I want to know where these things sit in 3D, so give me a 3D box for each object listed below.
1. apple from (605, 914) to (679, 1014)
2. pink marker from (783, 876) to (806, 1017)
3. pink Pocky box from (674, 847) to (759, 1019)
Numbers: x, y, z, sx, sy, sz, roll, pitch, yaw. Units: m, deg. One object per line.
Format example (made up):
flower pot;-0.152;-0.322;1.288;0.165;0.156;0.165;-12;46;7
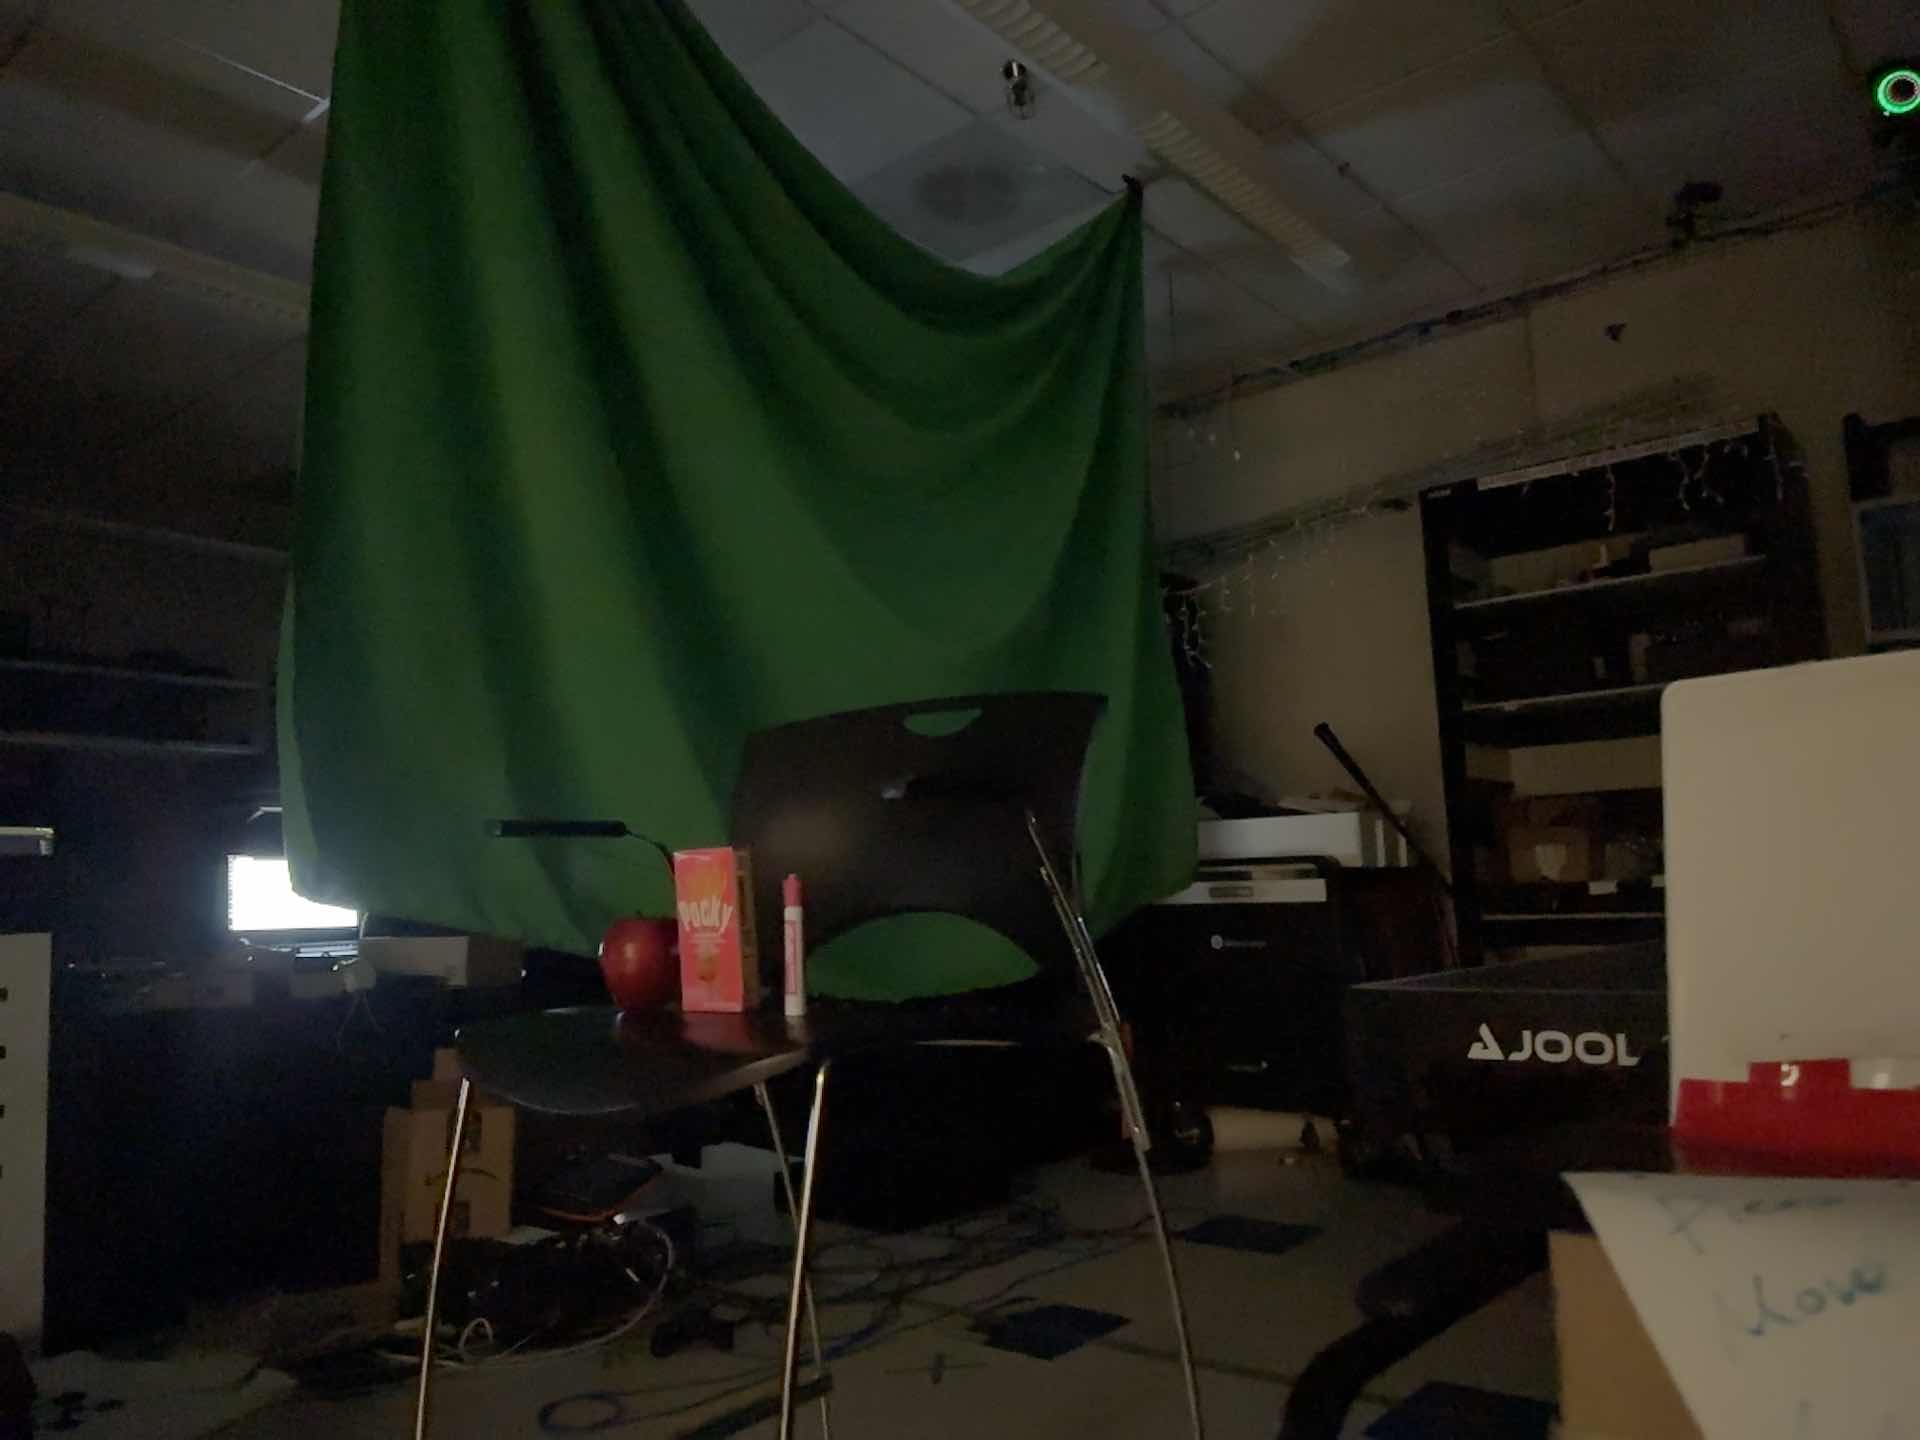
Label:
apple;-0.303;0.235;1.302;0.079;0.093;0.079;1;-8;0
pink marker;-0.146;0.198;1.185;0.020;0.121;0.020;-1;-5;0
pink Pocky box;-0.227;0.197;1.252;0.084;0.155;0.029;-5;-5;38
